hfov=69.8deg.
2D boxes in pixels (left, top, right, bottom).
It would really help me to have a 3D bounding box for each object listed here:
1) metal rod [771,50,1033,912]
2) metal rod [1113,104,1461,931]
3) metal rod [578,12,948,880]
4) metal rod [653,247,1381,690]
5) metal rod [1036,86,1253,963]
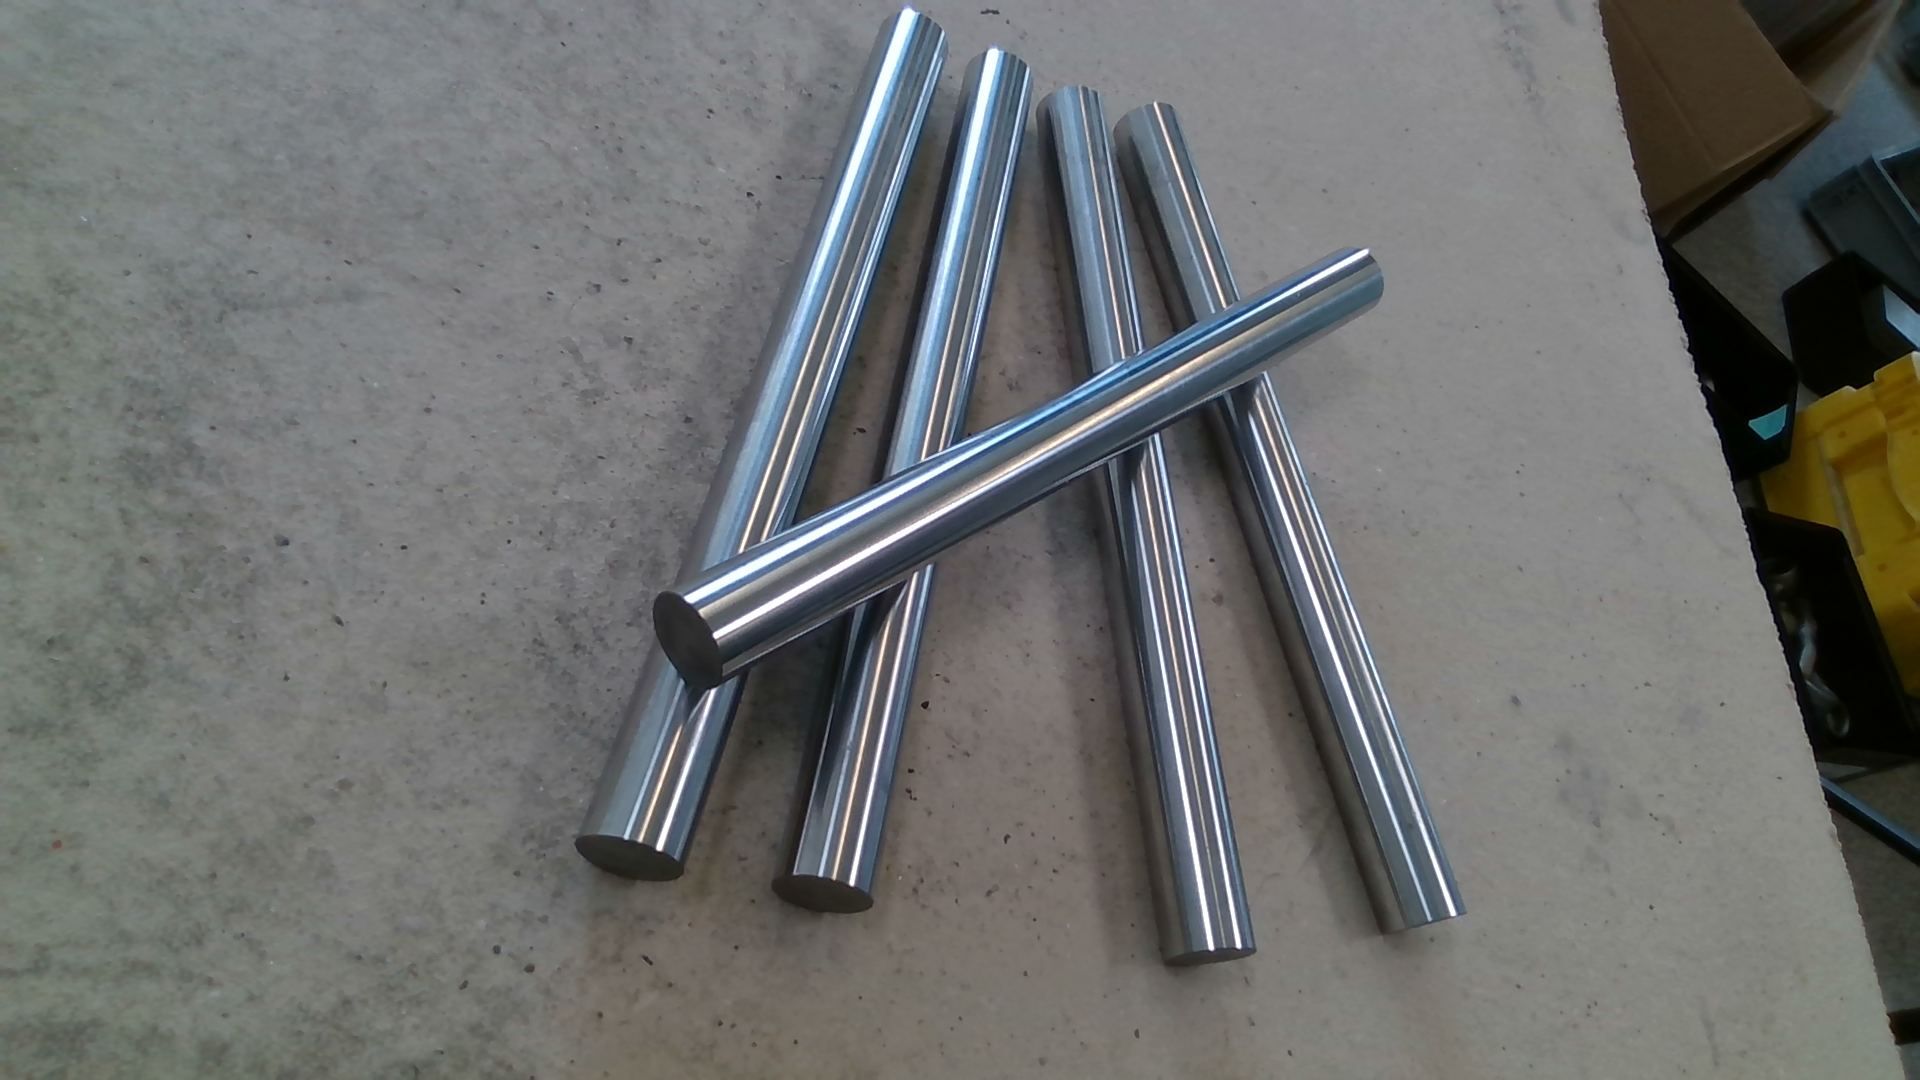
[{"bbox_3d":[-0.010,-0.039,0.409,0.025,0.025,0.299,23,55,-19],"label":"metal rod"},{"bbox_3d":[0.105,-0.020,0.470,0.025,0.025,0.299,-1,66,-32],"label":"metal rod"},{"bbox_3d":[-0.045,-0.050,0.392,0.025,0.025,0.299,26,55,-18],"label":"metal rod"},{"bbox_3d":[0.040,-0.035,0.404,0.300,0.025,0.025,-30,83,-39],"label":"metal rod"},{"bbox_3d":[0.054,-0.021,0.438,0.025,0.025,0.299,8,62,-28],"label":"metal rod"}]
